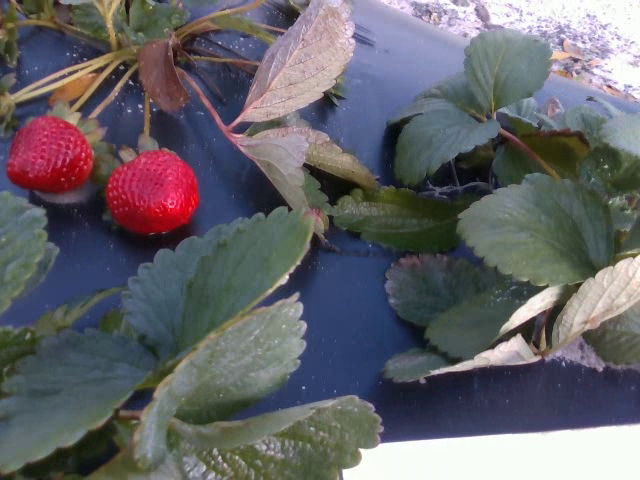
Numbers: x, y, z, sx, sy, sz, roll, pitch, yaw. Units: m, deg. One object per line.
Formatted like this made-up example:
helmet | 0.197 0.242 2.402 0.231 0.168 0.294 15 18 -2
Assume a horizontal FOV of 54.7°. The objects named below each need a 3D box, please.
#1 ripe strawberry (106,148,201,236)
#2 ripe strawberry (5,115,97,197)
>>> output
ripe strawberry | -0.089 -0.028 0.326 0.057 0.051 0.064 -18 29 -21
ripe strawberry | -0.150 -0.044 0.334 0.048 0.041 0.056 11 33 -1
